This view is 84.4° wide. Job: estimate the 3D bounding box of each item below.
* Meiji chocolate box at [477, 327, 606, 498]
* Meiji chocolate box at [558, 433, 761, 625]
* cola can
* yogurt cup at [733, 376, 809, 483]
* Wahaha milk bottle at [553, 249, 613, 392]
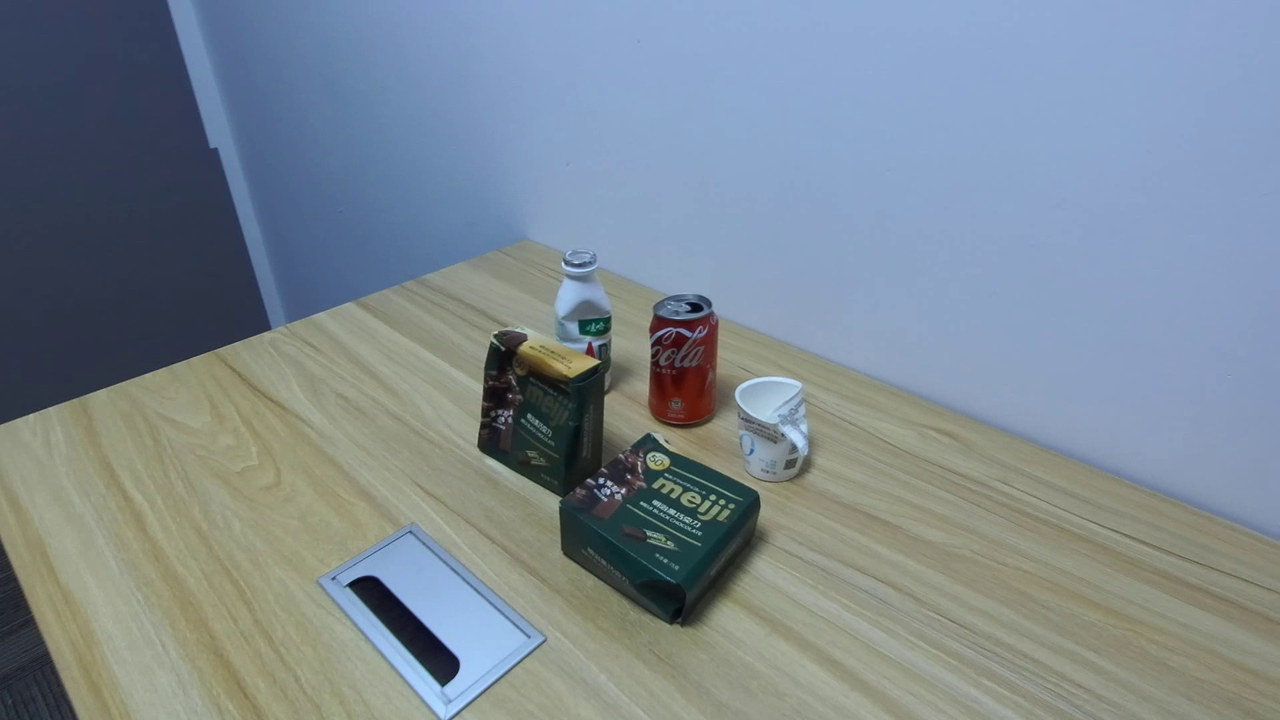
[{"bbox_3d":[-0.083,0.039,0.602,0.117,0.117,0.052,22,30,32],"label":"Meiji chocolate box"},{"bbox_3d":[0.016,0.122,0.526,0.115,0.058,0.123,25,40,30],"label":"Meiji chocolate box"},{"bbox_3d":[0.041,0.001,0.662,0.065,0.117,0.072,21,37,27],"label":"cola can"},{"bbox_3d":[0.112,0.061,0.607,0.067,0.070,0.067,-1,33,1],"label":"yogurt cup"},{"bbox_3d":[-0.055,-0.034,0.687,0.056,0.148,0.056,1,33,-1],"label":"Wahaha milk bottle"}]
